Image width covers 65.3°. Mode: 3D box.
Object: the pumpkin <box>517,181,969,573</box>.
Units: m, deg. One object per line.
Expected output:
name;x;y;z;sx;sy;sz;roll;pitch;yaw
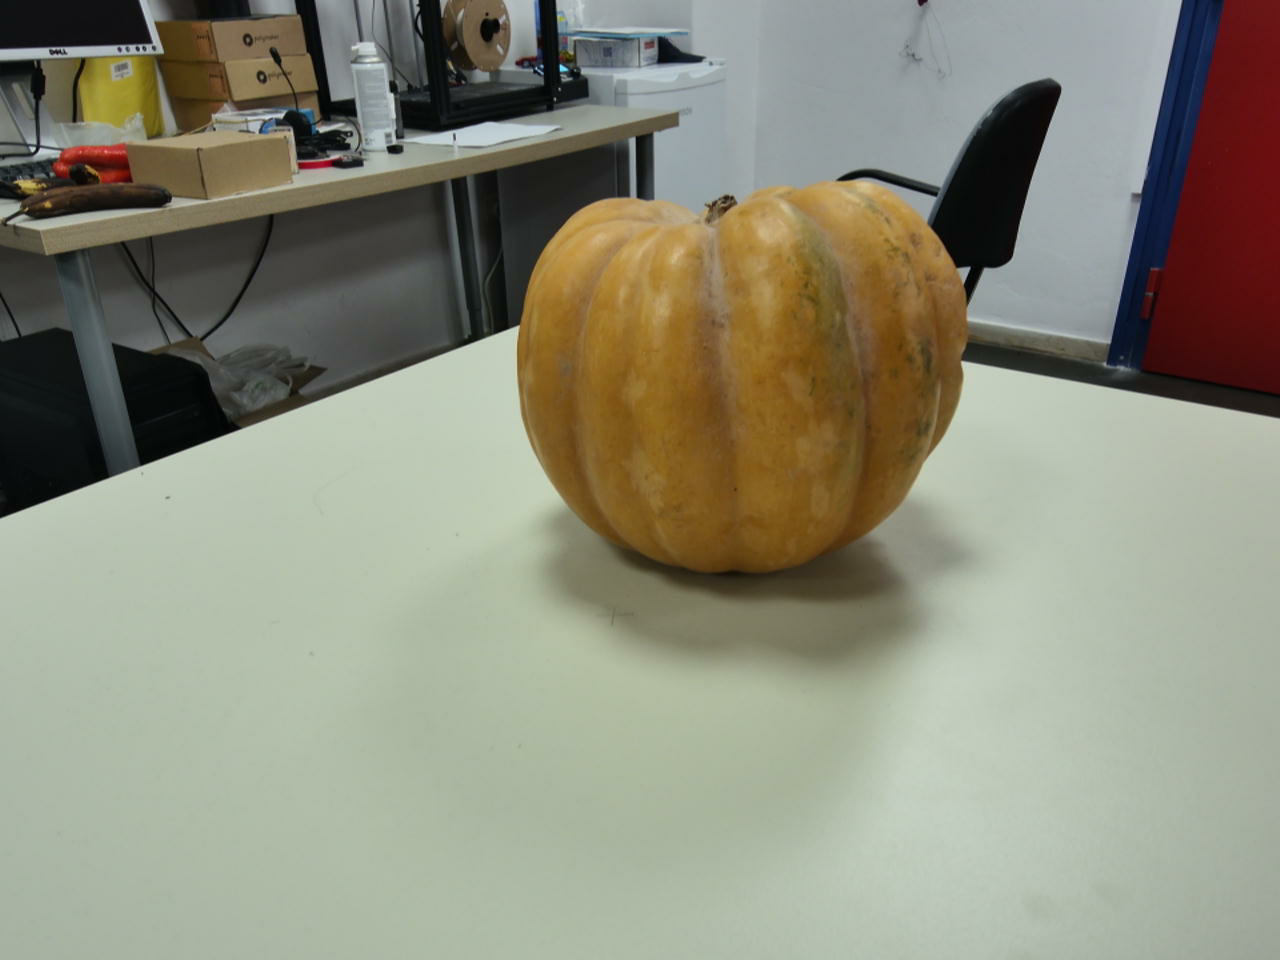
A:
pumpkin;0.049;-0.056;0.514;0.230;0.194;0.230;0;25;0
